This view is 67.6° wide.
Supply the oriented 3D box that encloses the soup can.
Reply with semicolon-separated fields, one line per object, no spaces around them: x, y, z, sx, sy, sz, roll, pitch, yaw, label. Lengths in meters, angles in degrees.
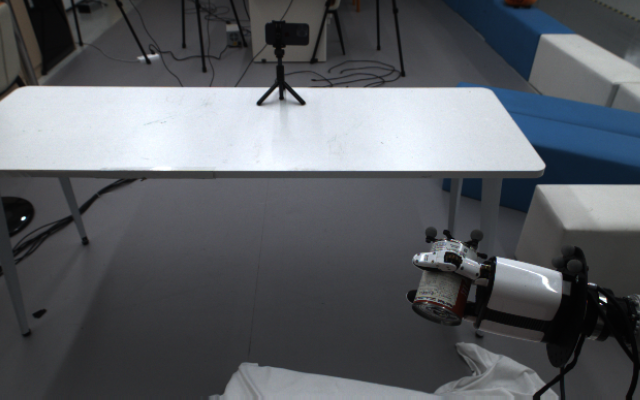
0.176;0.111;0.671;0.067;0.067;0.101;15;64;18;soup can
